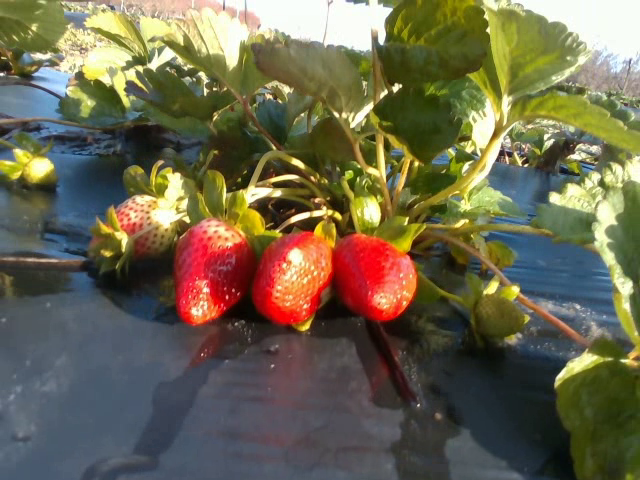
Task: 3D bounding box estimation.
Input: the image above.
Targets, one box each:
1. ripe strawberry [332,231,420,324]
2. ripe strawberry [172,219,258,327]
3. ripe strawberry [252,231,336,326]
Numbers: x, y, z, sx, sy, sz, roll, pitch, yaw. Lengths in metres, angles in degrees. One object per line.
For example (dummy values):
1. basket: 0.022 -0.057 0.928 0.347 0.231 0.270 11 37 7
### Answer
1. ripe strawberry: 0.018 0.016 0.196 0.035 0.034 0.041 5 7 1
2. ripe strawberry: -0.039 0.010 0.201 0.032 0.023 0.045 8 43 3
3. ripe strawberry: -0.010 0.010 0.194 0.031 0.036 0.039 17 -5 8
